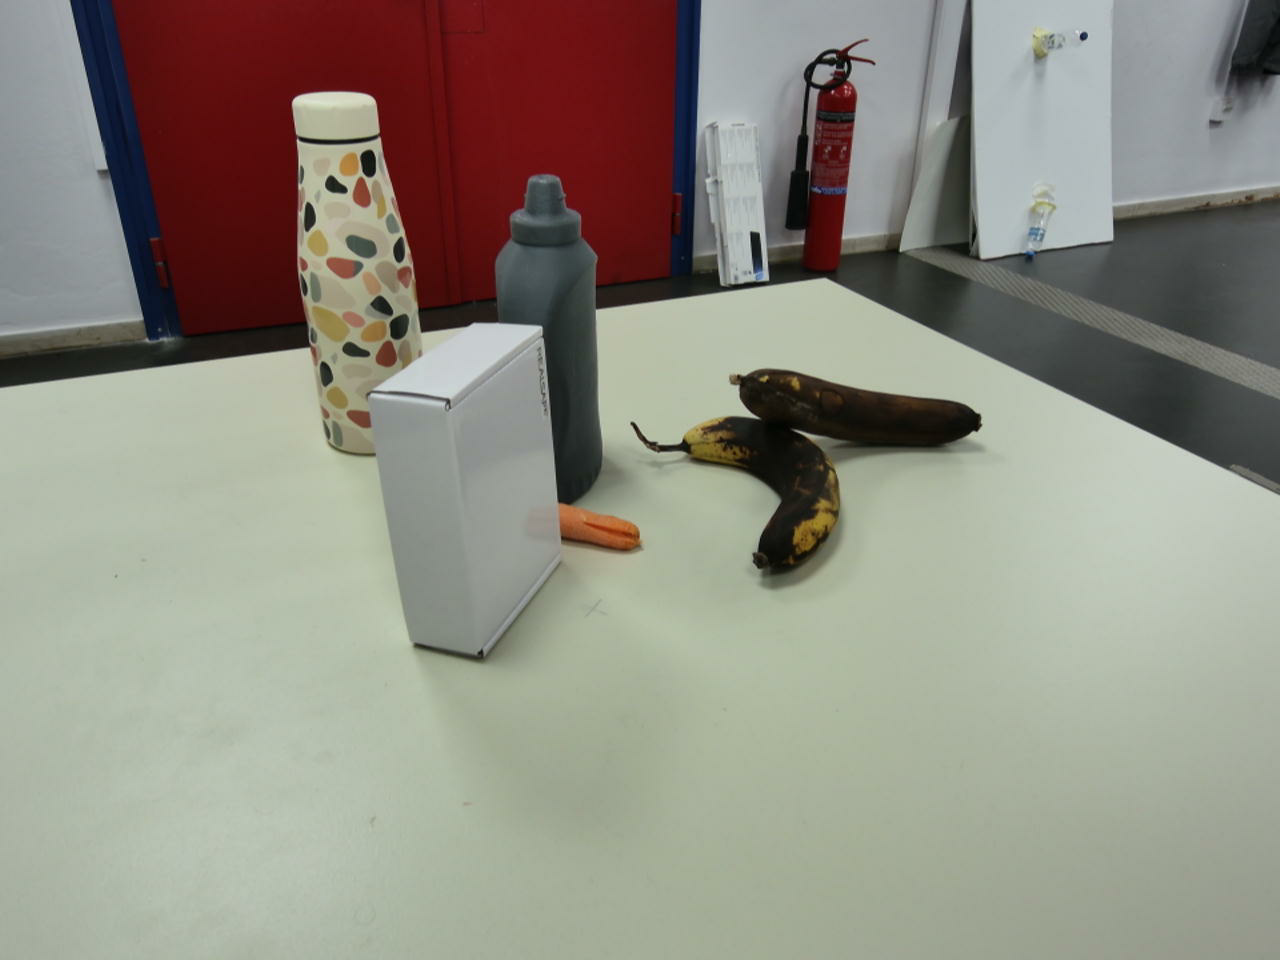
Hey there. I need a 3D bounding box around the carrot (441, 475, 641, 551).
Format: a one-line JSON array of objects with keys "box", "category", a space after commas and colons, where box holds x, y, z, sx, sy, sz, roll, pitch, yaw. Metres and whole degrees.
[{"box": [-0.064, 0.020, 0.627, 0.136, 0.032, 0.030, 10, 28, 19], "category": "carrot"}]
